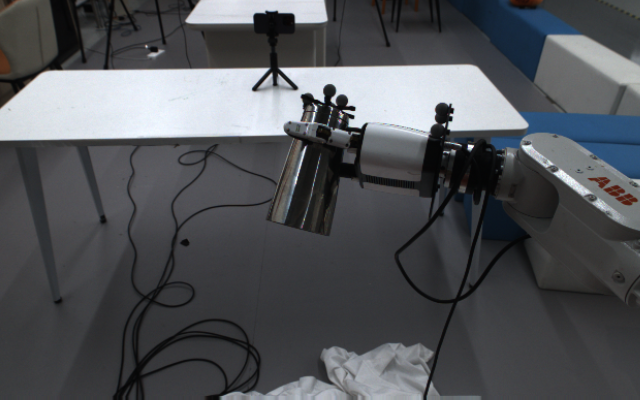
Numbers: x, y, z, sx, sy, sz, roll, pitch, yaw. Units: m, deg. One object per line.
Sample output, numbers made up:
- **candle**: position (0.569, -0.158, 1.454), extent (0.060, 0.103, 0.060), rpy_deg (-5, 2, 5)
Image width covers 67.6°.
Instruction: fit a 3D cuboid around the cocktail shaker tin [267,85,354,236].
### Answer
- **cocktail shaker tin**: position (-0.009, -0.044, 0.683), extent (0.093, 0.170, 0.093), rpy_deg (15, -5, 1)
